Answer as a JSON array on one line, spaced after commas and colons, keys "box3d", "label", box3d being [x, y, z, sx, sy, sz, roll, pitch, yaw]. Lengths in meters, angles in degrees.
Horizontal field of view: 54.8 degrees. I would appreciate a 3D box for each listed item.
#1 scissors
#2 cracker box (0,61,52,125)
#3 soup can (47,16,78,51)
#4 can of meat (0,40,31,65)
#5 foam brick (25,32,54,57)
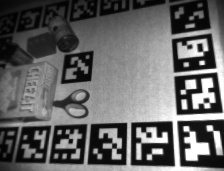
[{"box3d": [-0.175, 0.058, 0.630, 0.201, 0.016, 0.087, -9, 70, 16], "label": "scissors"}, {"box3d": [-0.293, 0.024, 0.648, 0.212, 0.073, 0.163, -11, 68, 20], "label": "cracker box"}, {"box3d": [-0.160, -0.167, 0.694, 0.068, 0.069, 0.101, -40, 59, 4], "label": "soup can"}, {"box3d": [-0.335, -0.103, 0.713, 0.101, 0.084, 0.058, 10, 76, 22], "label": "can of meat"}, {"box3d": [-0.238, -0.135, 0.711, 0.077, 0.052, 0.052, -15, 68, 15], "label": "foam brick"}]
